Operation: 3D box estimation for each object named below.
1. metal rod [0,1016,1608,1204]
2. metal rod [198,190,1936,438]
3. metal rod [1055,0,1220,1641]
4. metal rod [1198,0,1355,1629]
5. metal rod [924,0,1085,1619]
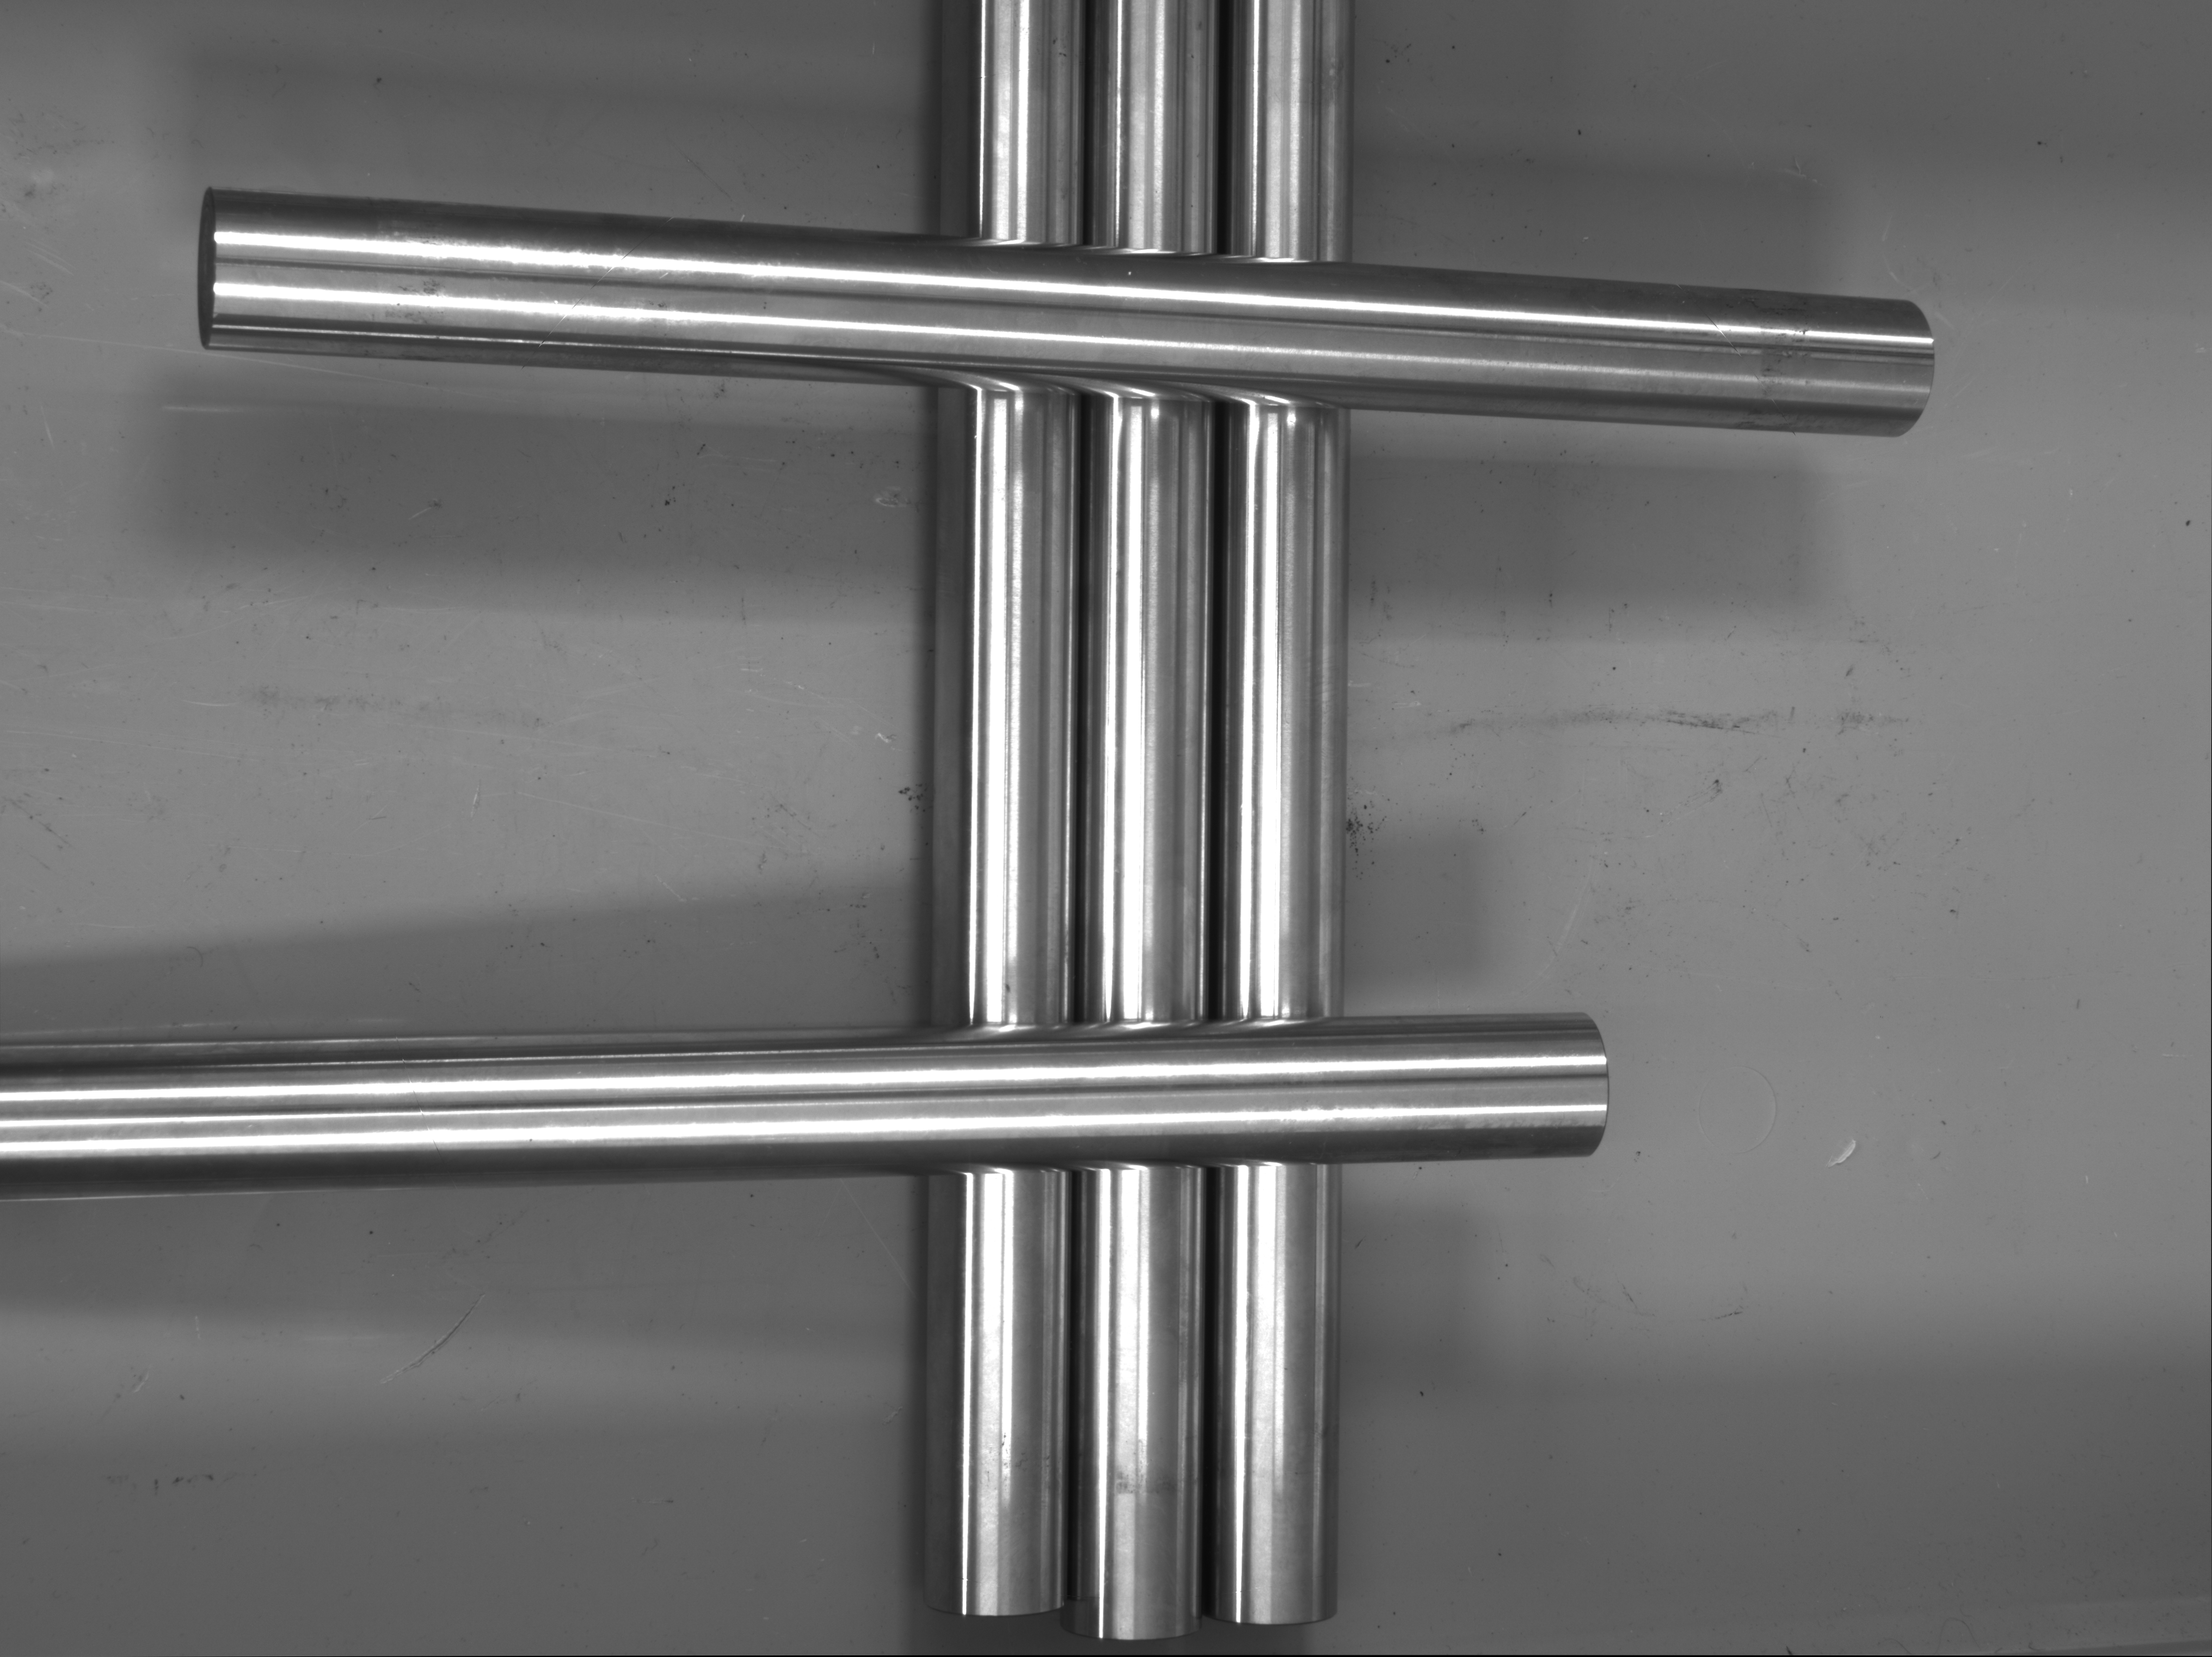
[{"bbox_3d":[-0.064,0.046,0.599,0.300,0.025,0.025,0,90,-13],"label":"metal rod"},{"bbox_3d":[0.003,-0.085,0.616,0.301,0.025,0.025,0,90,-20],"label":"metal rod"},{"bbox_3d":[0.006,-0.010,0.645,0.025,0.025,0.300,1,90,-20],"label":"metal rod"},{"bbox_3d":[0.030,-0.010,0.652,0.025,0.025,0.300,1,90,-20],"label":"metal rod"},{"bbox_3d":[-0.017,-0.016,0.636,0.025,0.025,0.300,1,90,-20],"label":"metal rod"}]
